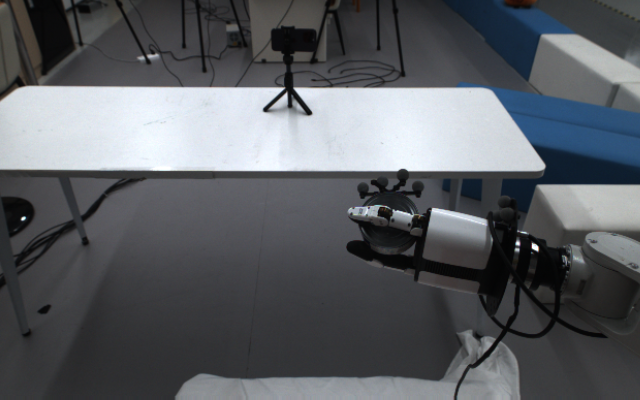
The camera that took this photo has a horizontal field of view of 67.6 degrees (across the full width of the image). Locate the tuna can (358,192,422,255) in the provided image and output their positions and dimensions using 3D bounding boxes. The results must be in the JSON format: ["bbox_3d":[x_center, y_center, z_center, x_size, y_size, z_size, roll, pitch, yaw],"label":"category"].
[{"bbox_3d":[0.099,0.032,0.682,0.085,0.034,0.085,-6,61,11],"label":"tuna can"}]
